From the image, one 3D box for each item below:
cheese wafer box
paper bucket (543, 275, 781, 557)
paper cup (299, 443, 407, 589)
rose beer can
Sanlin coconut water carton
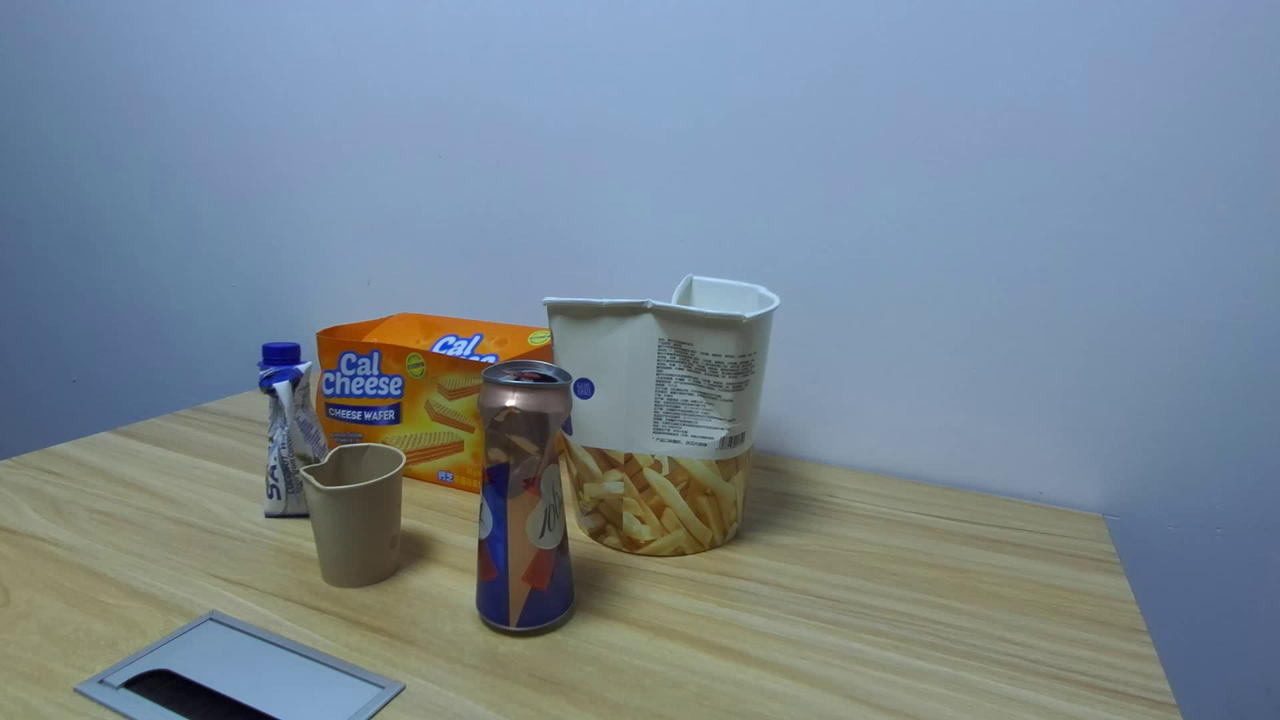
[{"bbox_3d":[-0.205,0.036,0.727,0.230,0.132,0.152,9,17,20],"label":"cheese wafer box"},{"bbox_3d":[0.023,0.036,0.595,0.168,0.202,0.163,8,15,14],"label":"paper bucket"},{"bbox_3d":[-0.202,0.112,0.507,0.073,0.081,0.069,15,19,41],"label":"paper cup"},{"bbox_3d":[-0.071,0.088,0.455,0.065,0.167,0.076,7,13,13],"label":"rose beer can"},{"bbox_3d":[-0.294,0.060,0.583,0.057,0.145,0.068,-6,22,-4],"label":"Sanlin coconut water carton"}]
